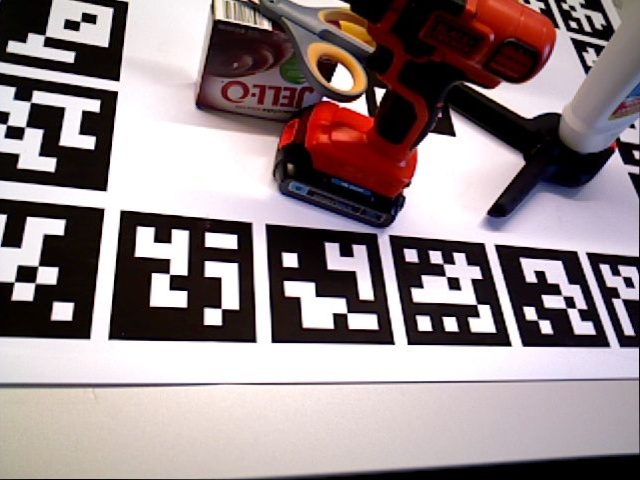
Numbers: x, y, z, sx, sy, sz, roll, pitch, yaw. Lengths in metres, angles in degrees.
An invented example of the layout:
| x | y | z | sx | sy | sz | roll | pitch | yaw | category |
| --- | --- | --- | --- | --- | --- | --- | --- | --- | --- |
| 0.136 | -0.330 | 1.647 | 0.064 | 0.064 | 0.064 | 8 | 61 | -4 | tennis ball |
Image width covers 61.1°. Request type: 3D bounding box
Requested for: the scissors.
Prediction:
| x | y | z | sx | sy | sz | roll | pitch | yaw | category |
| --- | --- | --- | --- | --- | --- | --- | --- | --- | --- |
| -0.043 | -0.191 | 0.408 | 0.202 | 0.016 | 0.086 | 29 | 60 | -10 | scissors |

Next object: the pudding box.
| x | y | z | sx | sy | sz | roll | pitch | yaw | category |
| --- | --- | --- | --- | --- | --- | --- | --- | --- | --- |
| -0.056 | -0.153 | 0.461 | 0.112 | 0.092 | 0.038 | 9 | 53 | -17 | pudding box |

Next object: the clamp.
| x | y | z | sx | sy | sz | roll | pitch | yaw | category |
| --- | --- | --- | --- | --- | --- | --- | --- | --- | --- |
| 0.236 | -0.104 | 0.563 | 0.200 | 0.037 | 0.164 | -1 | 65 | -24 | clamp |

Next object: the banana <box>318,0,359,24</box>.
| x | y | z | sx | sy | sz | roll | pitch | yaw | category |
| --- | --- | --- | --- | --- | --- | --- | --- | --- | --- |
| 0.048 | -0.265 | 0.588 | 0.074 | 0.040 | 0.193 | 38 | 55 | 22 | banana |

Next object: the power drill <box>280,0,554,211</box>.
| x | y | z | sx | sy | sz | roll | pitch | yaw | category |
| --- | --- | --- | --- | --- | --- | --- | --- | --- | --- |
| 0.033 | -0.111 | 0.378 | 0.183 | 0.192 | 0.056 | 15 | 51 | -10 | power drill |

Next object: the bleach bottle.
| x | y | z | sx | sy | sz | roll | pitch | yaw | category |
| --- | --- | --- | --- | --- | --- | --- | --- | --- | --- |
| 0.302 | -0.166 | 0.494 | 0.101 | 0.256 | 0.067 | -16 | 65 | -21 | bleach bottle |
